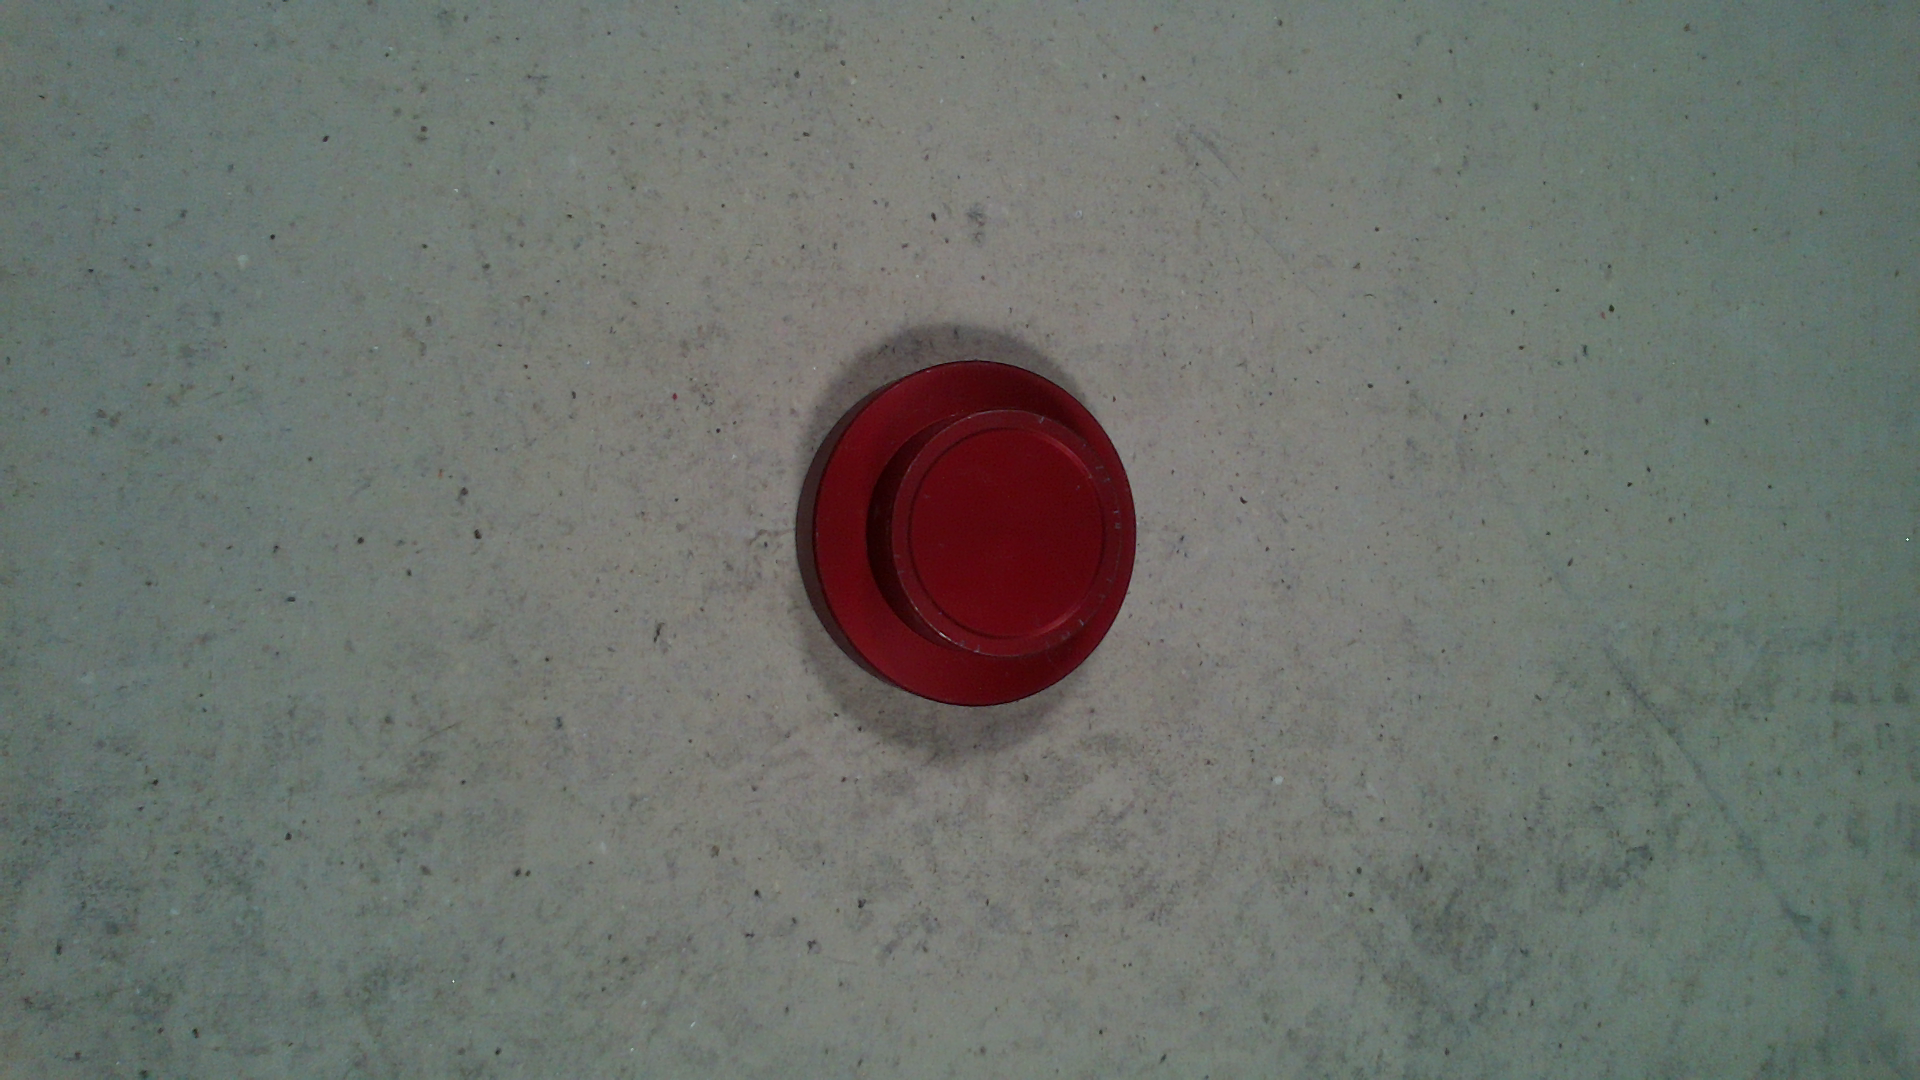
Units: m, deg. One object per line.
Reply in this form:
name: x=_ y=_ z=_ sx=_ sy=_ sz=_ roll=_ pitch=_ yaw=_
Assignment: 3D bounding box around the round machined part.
round machined part: x=0.006 y=-0.002 z=0.386 sx=0.098 sy=0.042 sz=0.098 roll=0 pitch=90 yaw=-20
